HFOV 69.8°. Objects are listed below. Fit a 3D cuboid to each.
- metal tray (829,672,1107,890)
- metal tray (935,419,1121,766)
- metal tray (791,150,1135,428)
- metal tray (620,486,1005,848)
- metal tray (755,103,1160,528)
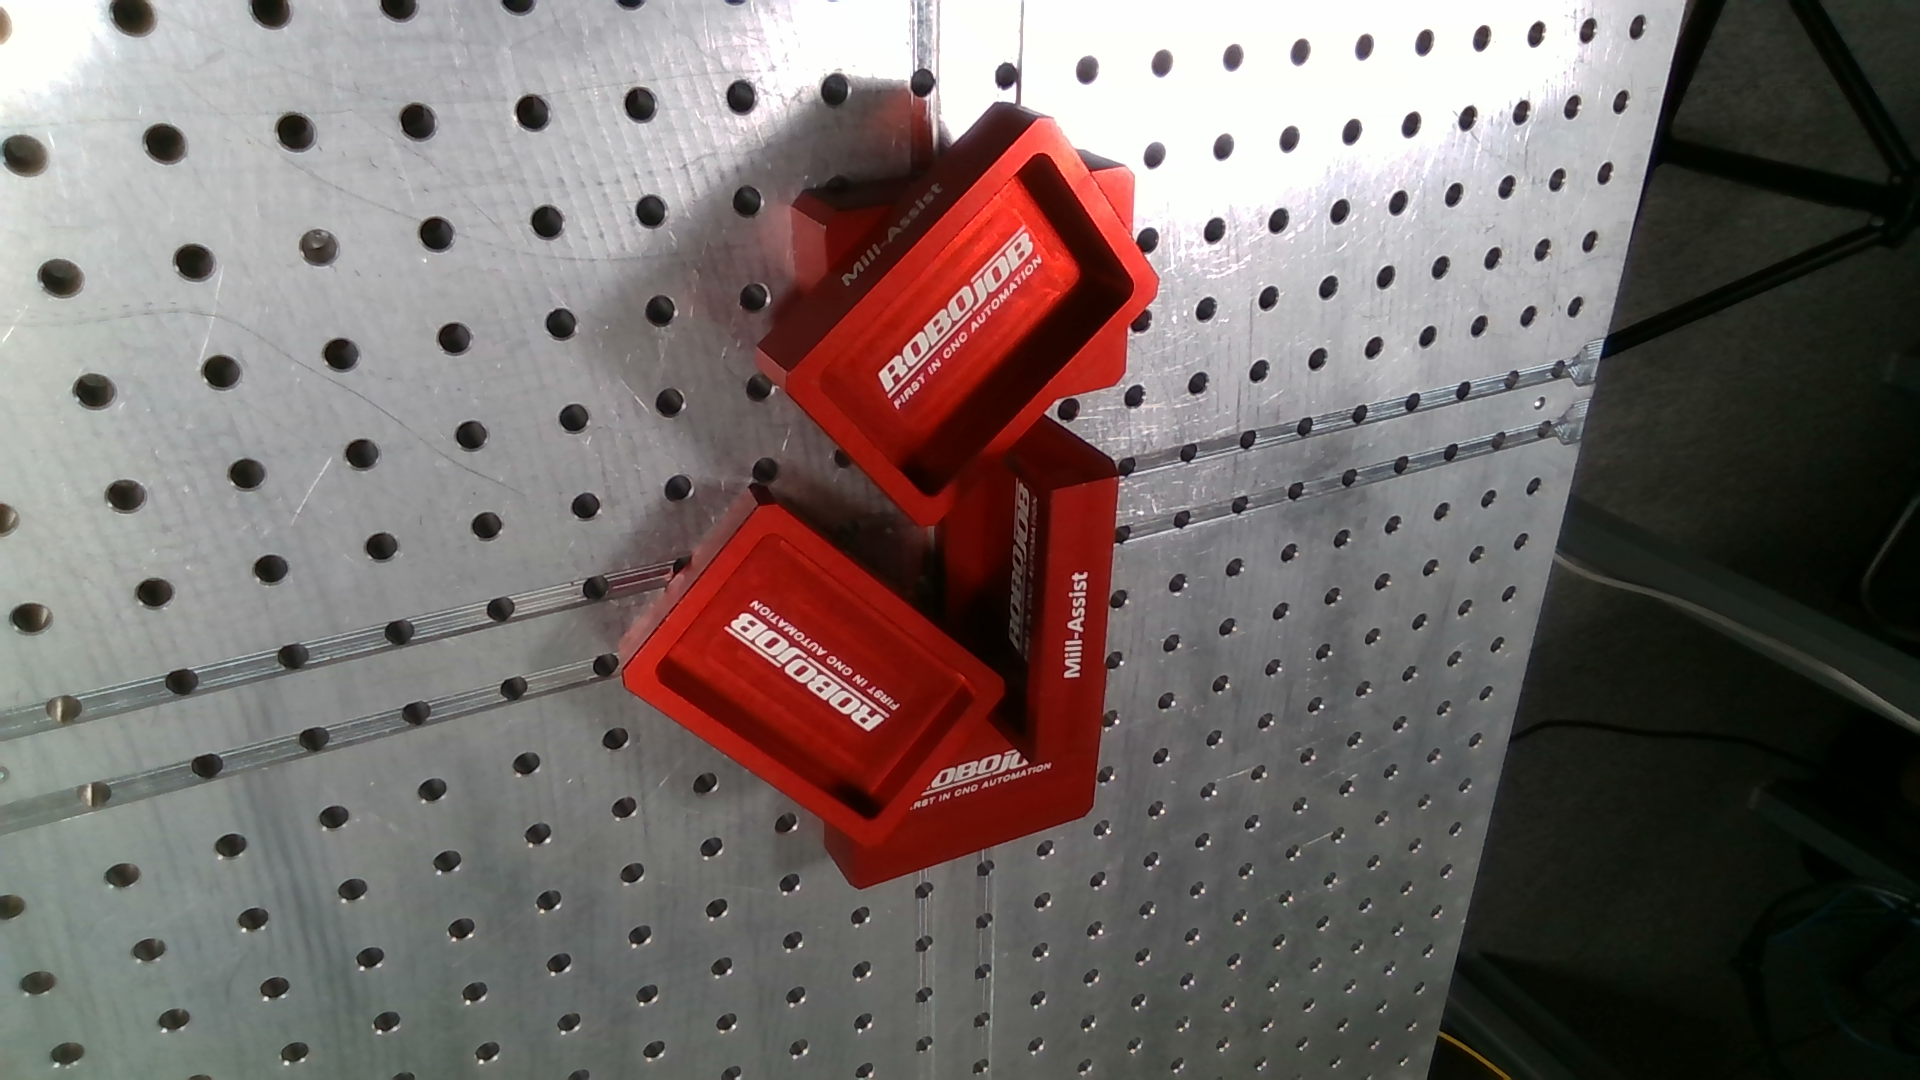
[{"bbox_3d":[0.003,0.100,0.635,0.130,0.030,0.090,-12,120,-26],"label":"metal tray"},{"bbox_3d":[0.024,0.014,0.563,0.030,0.090,0.130,-13,121,-26],"label":"metal tray"},{"bbox_3d":[0.004,-0.095,0.532,0.130,0.030,0.090,-15,121,-24],"label":"metal tray"},{"bbox_3d":[-0.058,0.052,0.549,0.130,0.030,0.090,39,92,-22],"label":"metal tray"},{"bbox_3d":[0.002,-0.079,0.498,0.130,0.030,0.090,-46,130,-2],"label":"metal tray"}]
